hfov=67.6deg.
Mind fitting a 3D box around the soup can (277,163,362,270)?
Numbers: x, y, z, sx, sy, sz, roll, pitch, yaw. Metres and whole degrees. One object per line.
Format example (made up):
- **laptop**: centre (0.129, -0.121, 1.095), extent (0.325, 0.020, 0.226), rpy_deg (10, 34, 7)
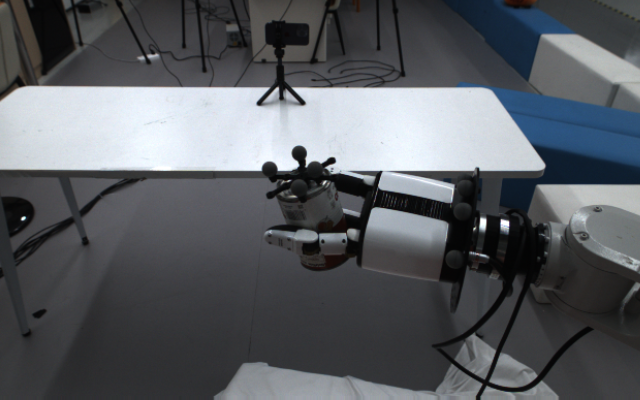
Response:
- **soup can**: centre (-0.003, 0.021, 0.555), extent (0.067, 0.101, 0.067), rpy_deg (-13, 31, 8)
